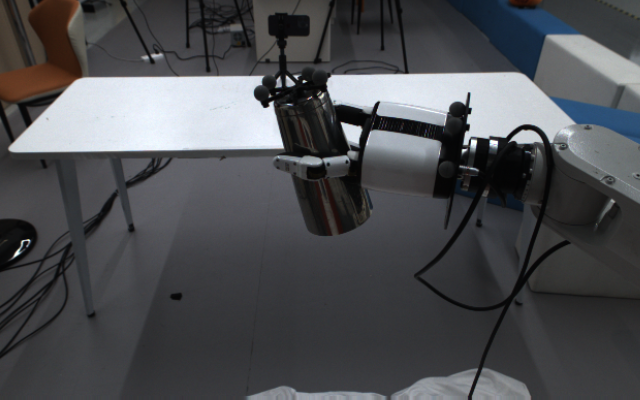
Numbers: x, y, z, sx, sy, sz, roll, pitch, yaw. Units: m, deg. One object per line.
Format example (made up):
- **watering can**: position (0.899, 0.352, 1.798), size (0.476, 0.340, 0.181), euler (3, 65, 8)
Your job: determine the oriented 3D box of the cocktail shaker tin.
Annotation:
- **cocktail shaker tin**: position (0.001, -0.051, 0.599), size (0.093, 0.170, 0.093), euler (-15, 29, 8)
